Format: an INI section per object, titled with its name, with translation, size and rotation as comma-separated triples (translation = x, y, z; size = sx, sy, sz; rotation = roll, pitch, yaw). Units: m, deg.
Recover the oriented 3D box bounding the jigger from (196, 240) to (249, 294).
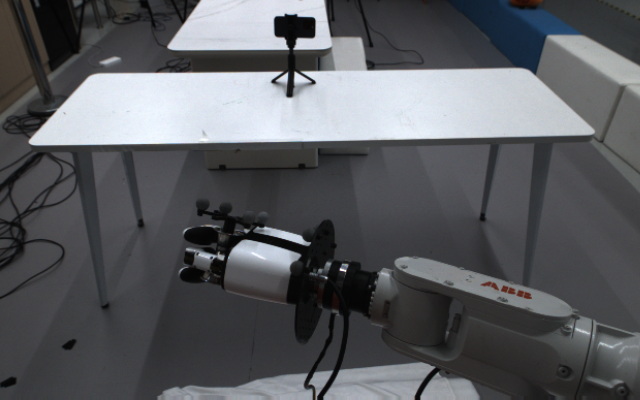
[jigger]
translation = -0.128, 0.073, 0.643
size = 0.043, 0.071, 0.043
rotation = 13, 1, 0
